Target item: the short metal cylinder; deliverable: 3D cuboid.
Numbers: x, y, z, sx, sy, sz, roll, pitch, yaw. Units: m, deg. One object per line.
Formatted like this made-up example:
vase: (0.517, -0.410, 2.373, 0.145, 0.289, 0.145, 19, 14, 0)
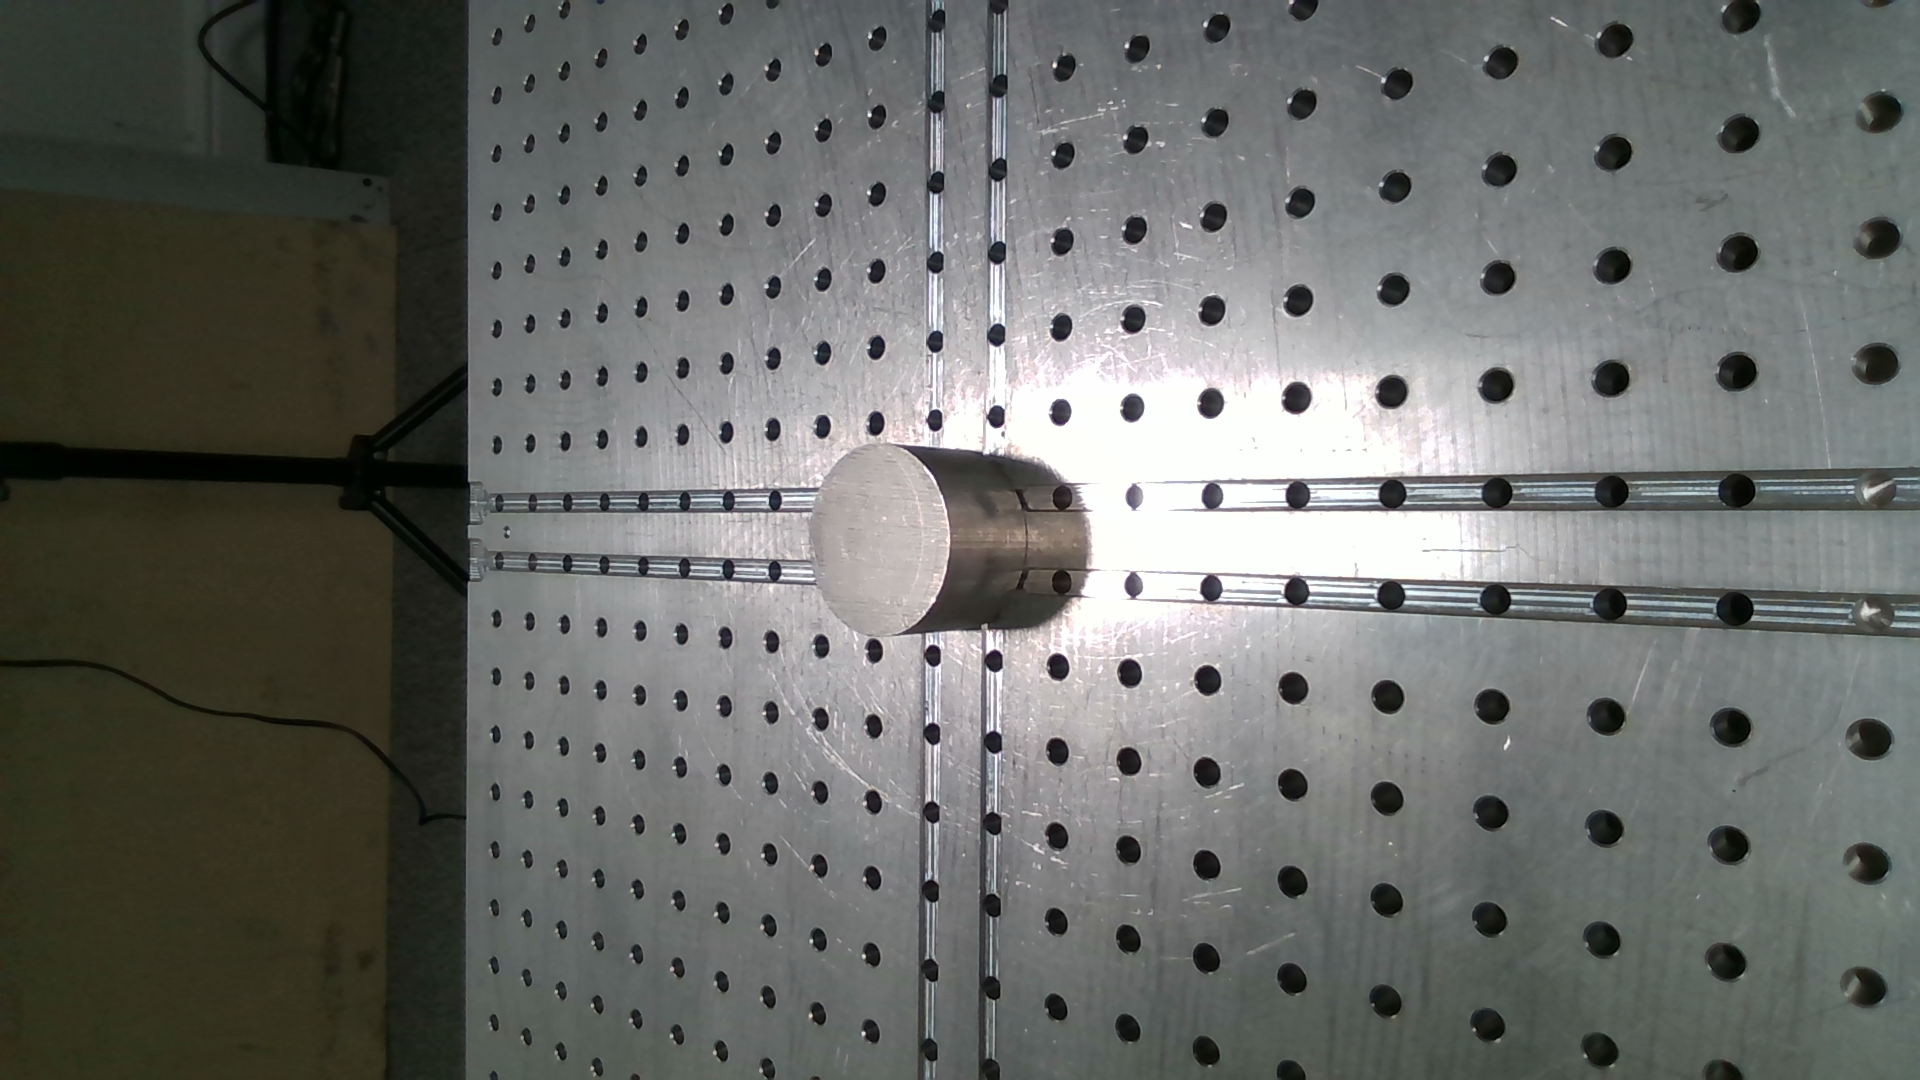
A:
short metal cylinder: (-0.019, 0.000, 0.584, 0.080, 0.050, 0.080, 0, 91, 40)
